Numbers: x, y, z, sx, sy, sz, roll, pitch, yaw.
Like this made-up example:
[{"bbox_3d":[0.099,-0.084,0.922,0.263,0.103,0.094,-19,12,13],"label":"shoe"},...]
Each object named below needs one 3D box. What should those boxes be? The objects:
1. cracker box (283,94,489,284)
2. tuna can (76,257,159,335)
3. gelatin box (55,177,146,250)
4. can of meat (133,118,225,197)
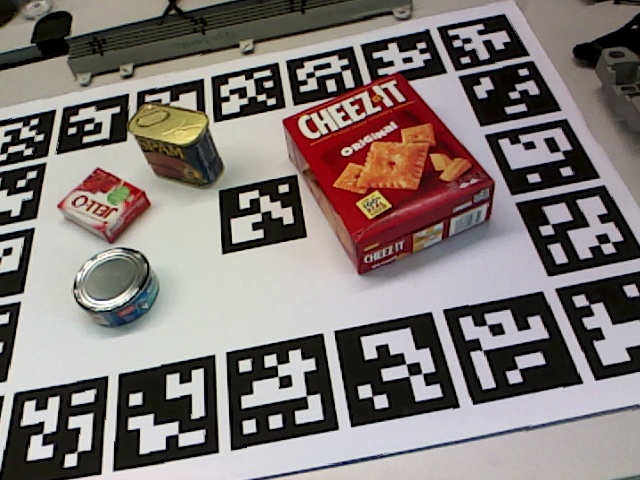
[{"bbox_3d":[0.072,-0.071,0.740,0.164,0.071,0.215,-24,50,-10],"label":"cracker box"},{"bbox_3d":[-0.229,0.064,0.705,0.086,0.033,0.086,-5,55,7],"label":"tuna can"},{"bbox_3d":[-0.282,-0.036,0.800,0.090,0.030,0.073,25,58,24],"label":"gelatin box"},{"bbox_3d":[-0.181,-0.106,0.811,0.102,0.083,0.058,13,55,21],"label":"can of meat"}]
